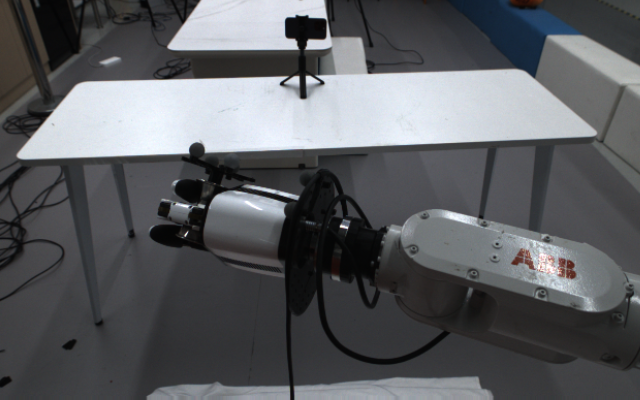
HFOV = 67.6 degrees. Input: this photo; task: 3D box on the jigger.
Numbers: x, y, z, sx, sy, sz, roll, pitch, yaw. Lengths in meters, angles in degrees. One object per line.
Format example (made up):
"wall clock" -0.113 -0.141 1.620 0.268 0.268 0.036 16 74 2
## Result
"jigger" -0.130 0.014 0.548 0.043 0.071 0.043 18 -6 2
